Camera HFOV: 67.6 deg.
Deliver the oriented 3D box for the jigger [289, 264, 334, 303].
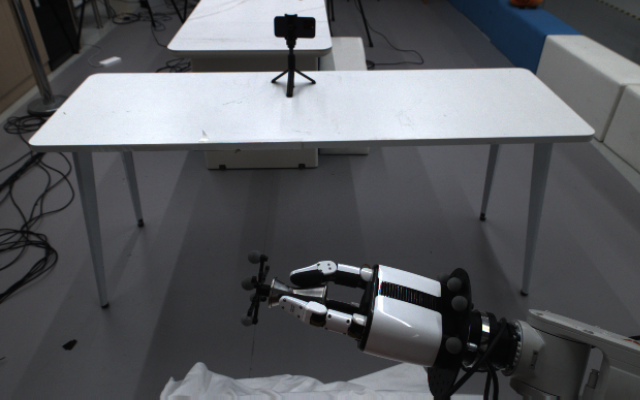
[{"bbox_3d":[-0.019,0.118,0.608,0.071,0.043,0.043,8,35,5],"label":"jigger"}]
